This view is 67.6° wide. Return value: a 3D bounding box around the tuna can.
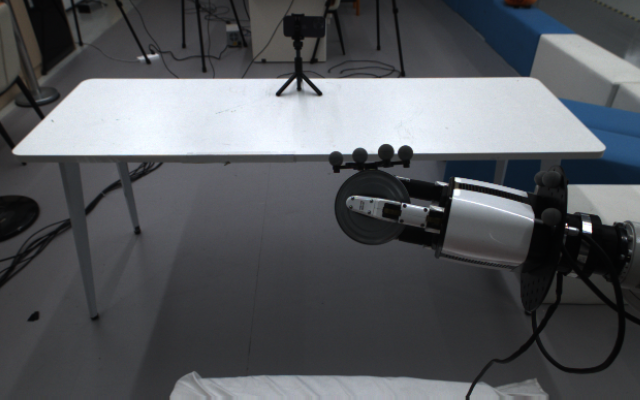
[{"bbox_3d":[0.063,0.006,0.557,0.085,0.085,0.034,10,3,11],"label":"tuna can"}]
